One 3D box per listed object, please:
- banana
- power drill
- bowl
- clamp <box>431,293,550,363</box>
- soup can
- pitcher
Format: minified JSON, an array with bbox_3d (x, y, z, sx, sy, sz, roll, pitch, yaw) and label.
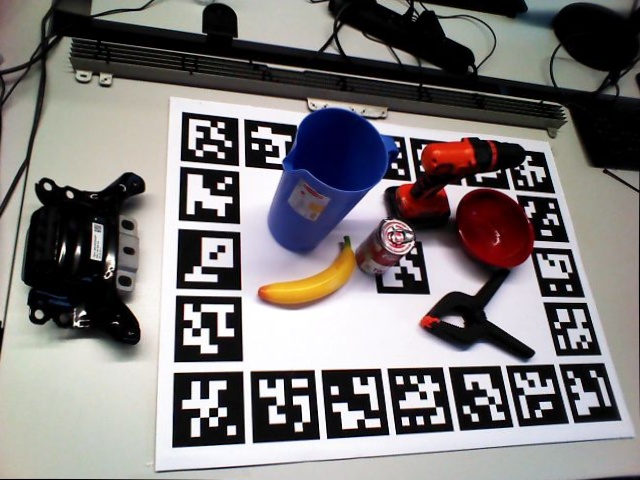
[{"bbox_3d":[-0.004,0.064,0.828,0.196,0.039,0.074,-24,68,-26],"label":"banana"},{"bbox_3d":[0.241,-0.102,0.864,0.184,0.188,0.057,-3,69,-19],"label":"power drill"},{"bbox_3d":[0.328,-0.014,0.947,0.161,0.055,0.161,6,68,-14],"label":"bowl"},{"bbox_3d":[0.284,0.131,0.875,0.202,0.037,0.164,-1,72,-17],"label":"clamp"},{"bbox_3d":[0.120,0.008,0.851,0.068,0.102,0.067,7,57,-12],"label":"soup can"},{"bbox_3d":[0.018,-0.079,0.778,0.188,0.244,0.133,-23,73,-24],"label":"pitcher"}]
